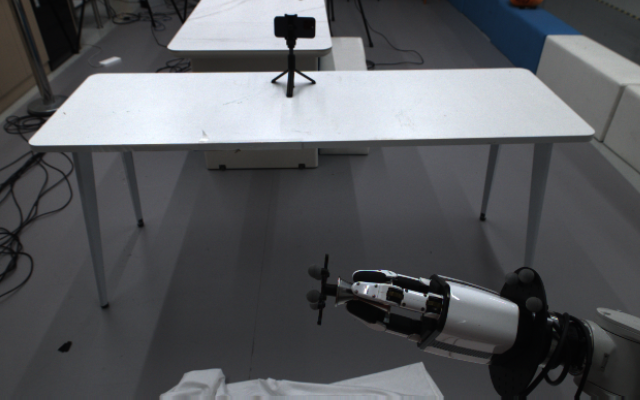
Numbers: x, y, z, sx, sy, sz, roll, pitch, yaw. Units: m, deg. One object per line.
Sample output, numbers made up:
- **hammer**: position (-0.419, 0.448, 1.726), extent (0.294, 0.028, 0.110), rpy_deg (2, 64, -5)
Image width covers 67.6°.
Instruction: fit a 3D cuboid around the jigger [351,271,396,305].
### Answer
- **jigger**: position (0.062, 0.113, 0.614), extent (0.071, 0.043, 0.043), rpy_deg (5, 35, 3)
